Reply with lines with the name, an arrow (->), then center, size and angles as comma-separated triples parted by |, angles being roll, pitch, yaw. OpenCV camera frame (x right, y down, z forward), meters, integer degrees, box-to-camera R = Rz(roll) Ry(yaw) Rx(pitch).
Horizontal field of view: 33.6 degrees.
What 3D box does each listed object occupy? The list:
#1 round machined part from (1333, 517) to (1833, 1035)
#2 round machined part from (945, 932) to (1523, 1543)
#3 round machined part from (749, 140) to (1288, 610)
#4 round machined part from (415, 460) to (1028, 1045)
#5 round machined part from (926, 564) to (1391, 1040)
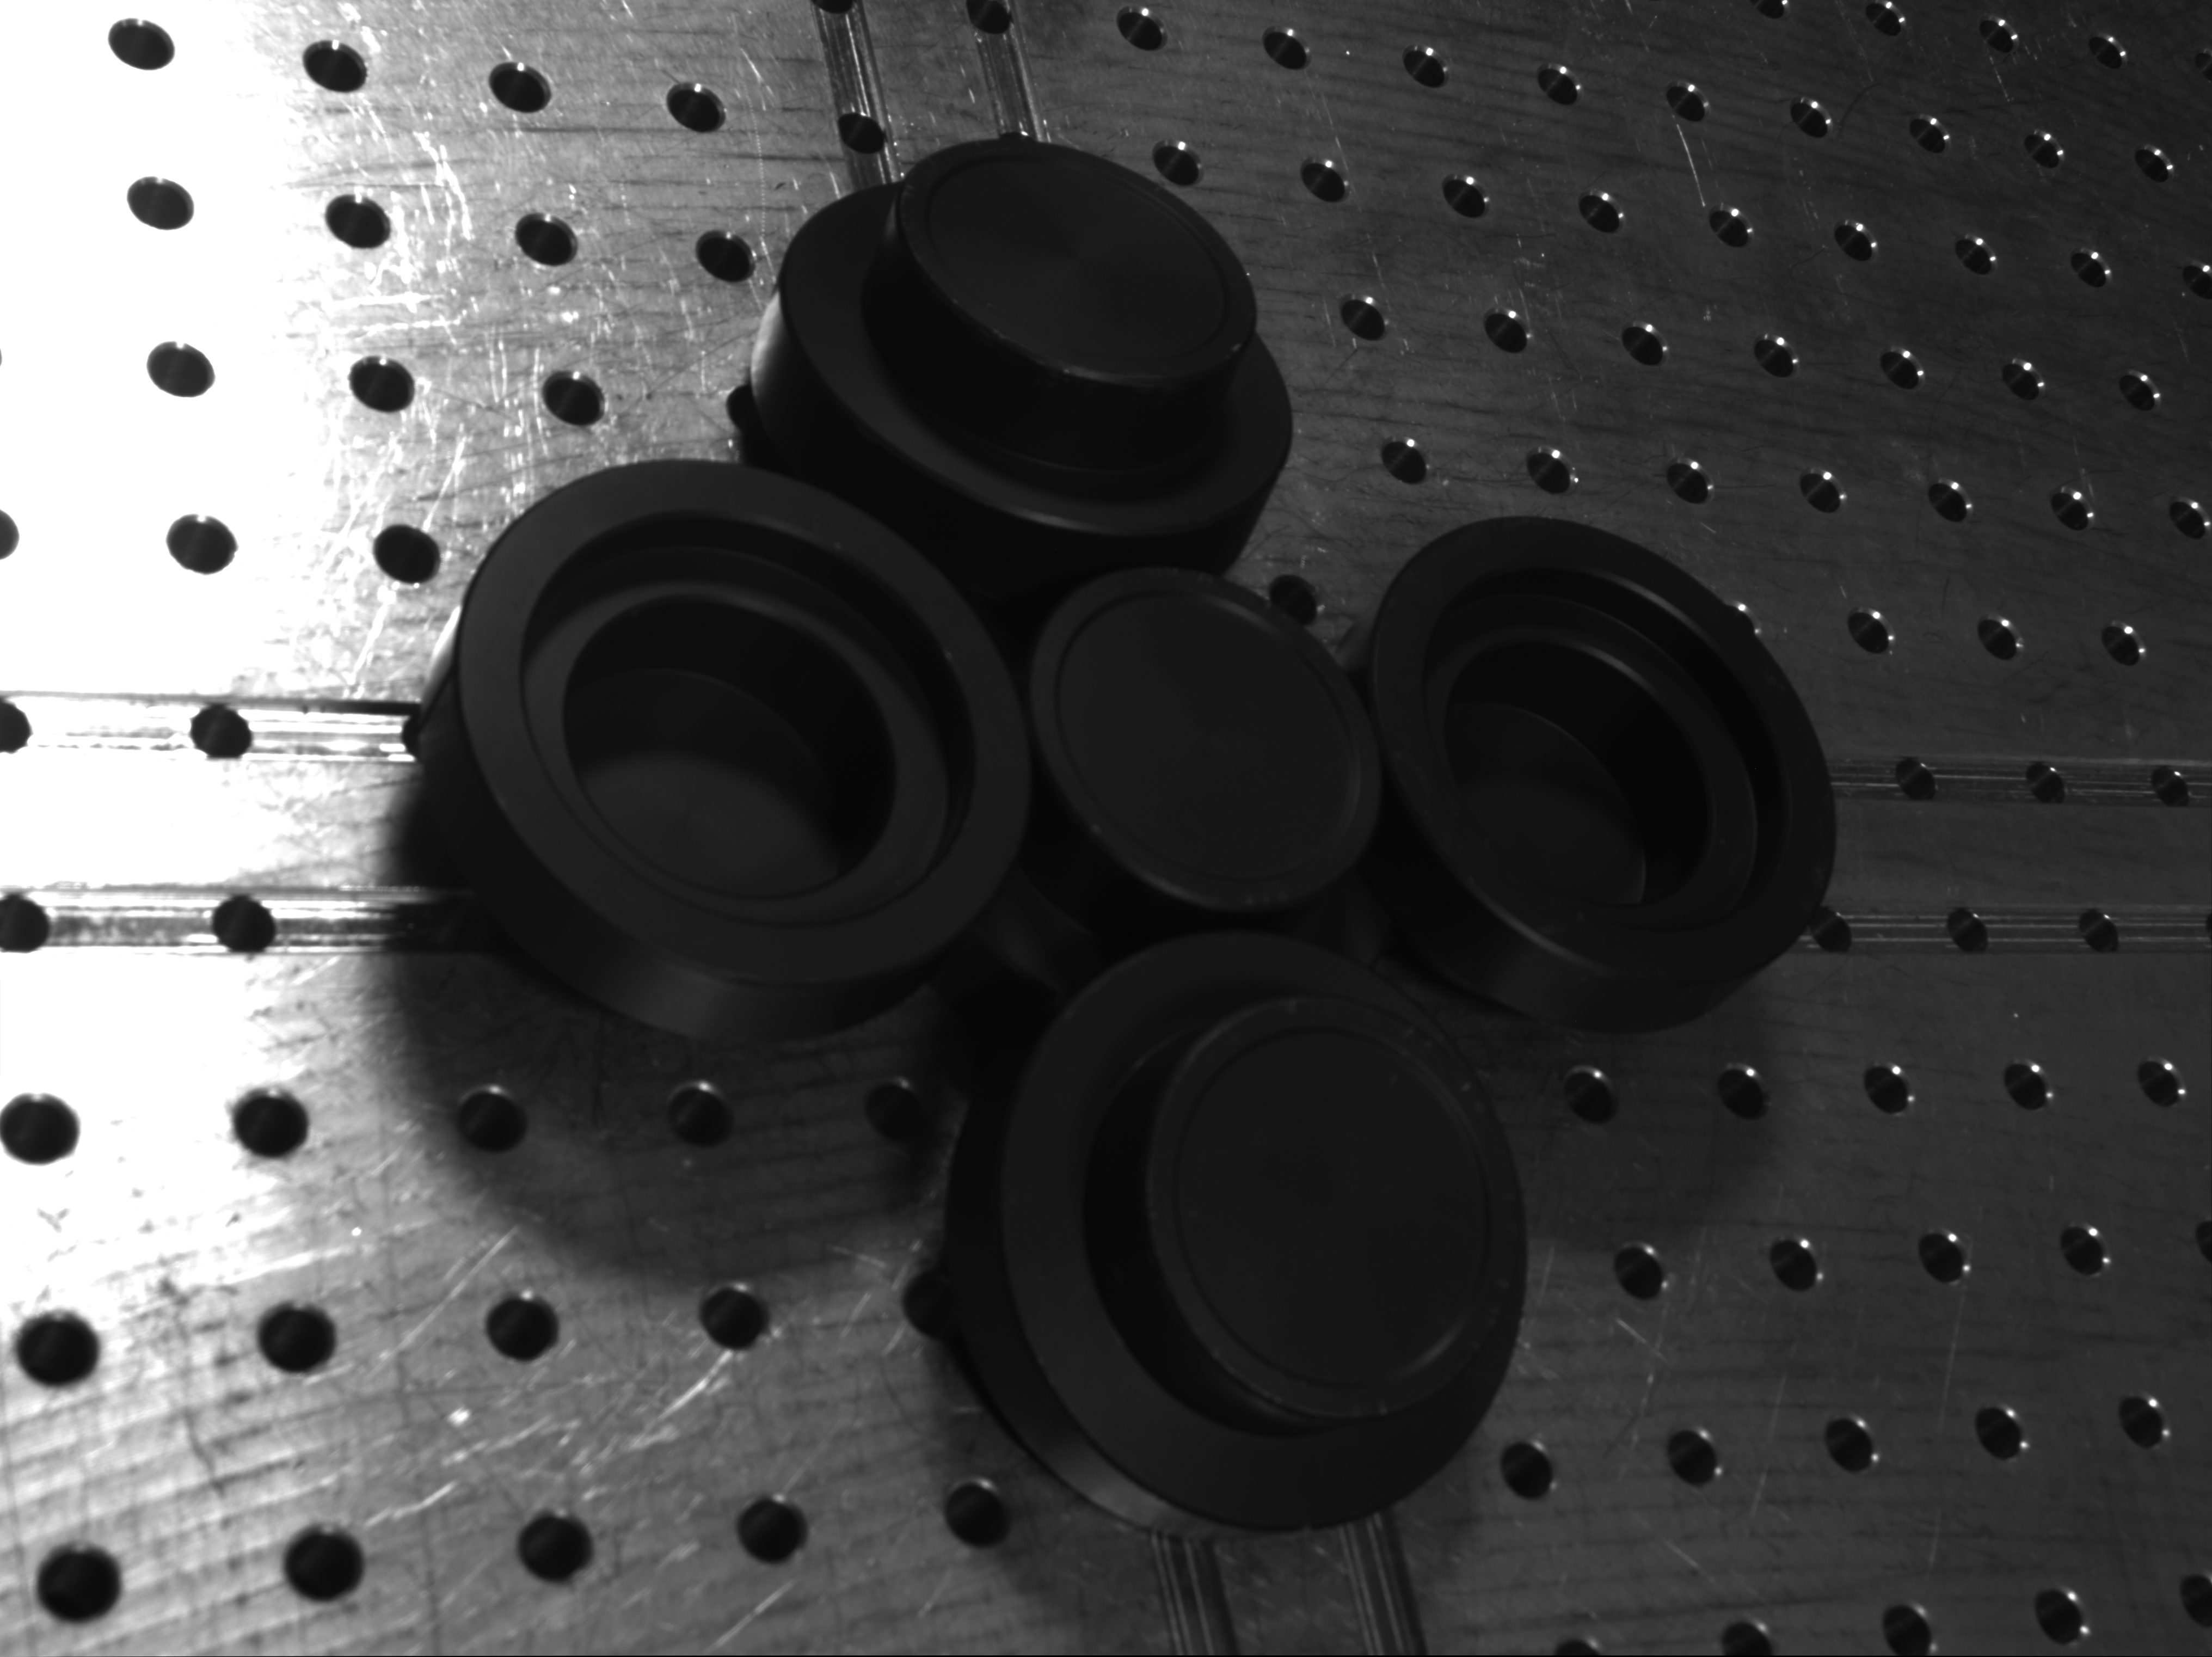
round machined part -> 0.082, -0.006, 0.679 | 0.098, 0.042, 0.098 | 14, 56, -21
round machined part -> 0.027, 0.064, 0.592 | 0.098, 0.042, 0.098 | 8, 73, -26
round machined part -> -0.012, -0.087, 0.664 | 0.098, 0.042, 0.098 | 14, 43, -13
round machined part -> -0.066, -0.008, 0.601 | 0.098, 0.042, 0.098 | 14, 56, -21
round machined part -> 0.008, -0.007, 0.639 | 0.098, 0.042, 0.098 | 14, 56, -21
